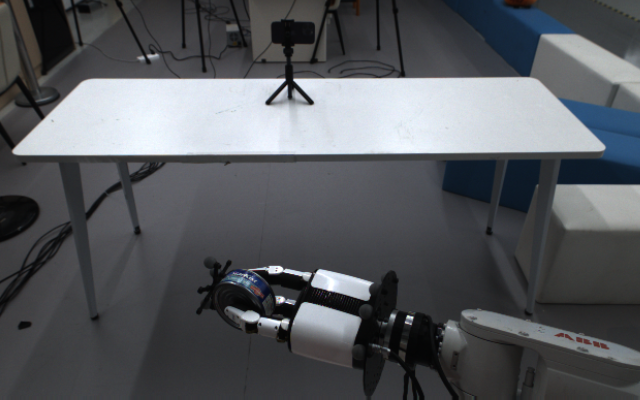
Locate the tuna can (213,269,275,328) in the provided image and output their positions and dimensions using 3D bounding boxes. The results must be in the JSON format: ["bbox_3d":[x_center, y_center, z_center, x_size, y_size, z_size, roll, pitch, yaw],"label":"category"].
[{"bbox_3d":[-0.103,0.144,0.673,0.085,0.085,0.034,13,31,16],"label":"tuna can"}]
